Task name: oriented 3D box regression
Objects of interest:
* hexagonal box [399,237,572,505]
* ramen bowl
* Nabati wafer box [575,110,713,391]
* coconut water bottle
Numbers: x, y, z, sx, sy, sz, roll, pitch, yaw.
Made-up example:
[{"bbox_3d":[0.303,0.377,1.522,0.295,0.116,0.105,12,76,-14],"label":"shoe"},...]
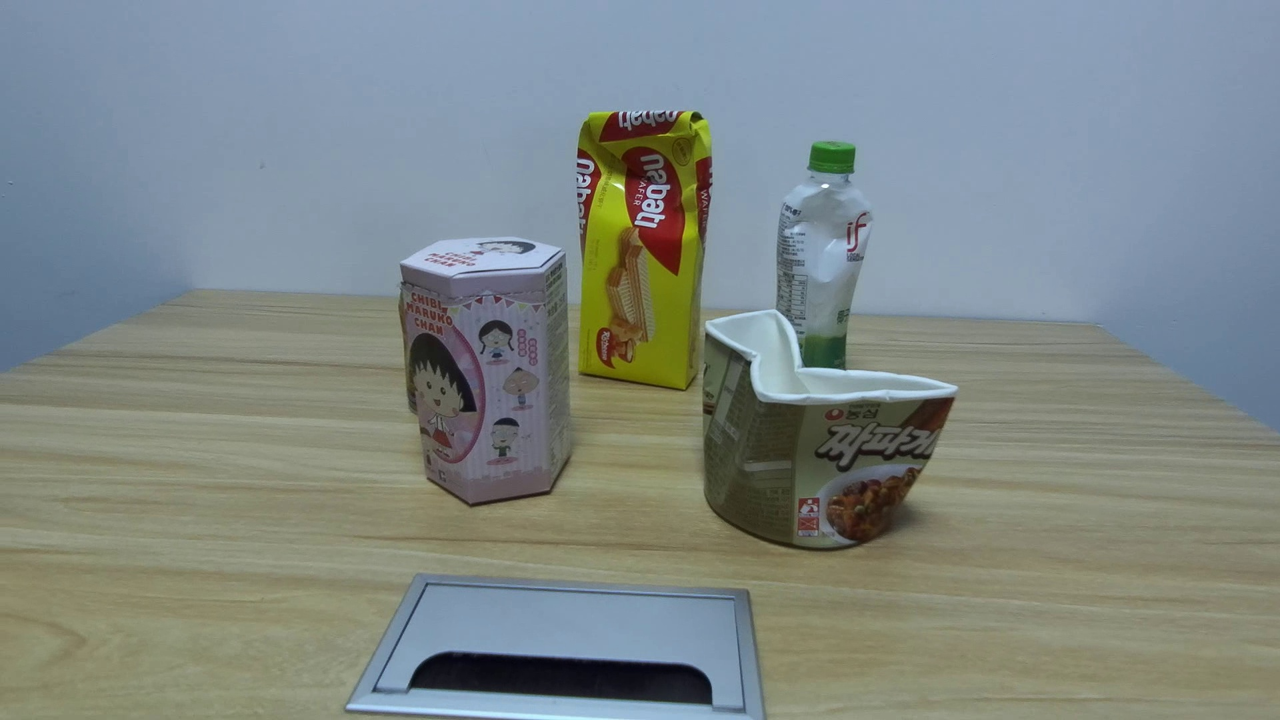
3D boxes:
[{"bbox_3d":[-0.086,0.005,0.413,0.091,0.136,0.084,18,27,36],"label":"hexagonal box"},{"bbox_3d":[0.094,0.035,0.407,0.112,0.093,0.128,-3,23,-11],"label":"ramen bowl"},{"bbox_3d":[0.001,-0.083,0.542,0.113,0.205,0.043,7,20,18],"label":"Nabati wafer box"},{"bbox_3d":[0.132,-0.064,0.523,0.069,0.187,0.069,3,20,-1],"label":"coconut water bottle"}]
